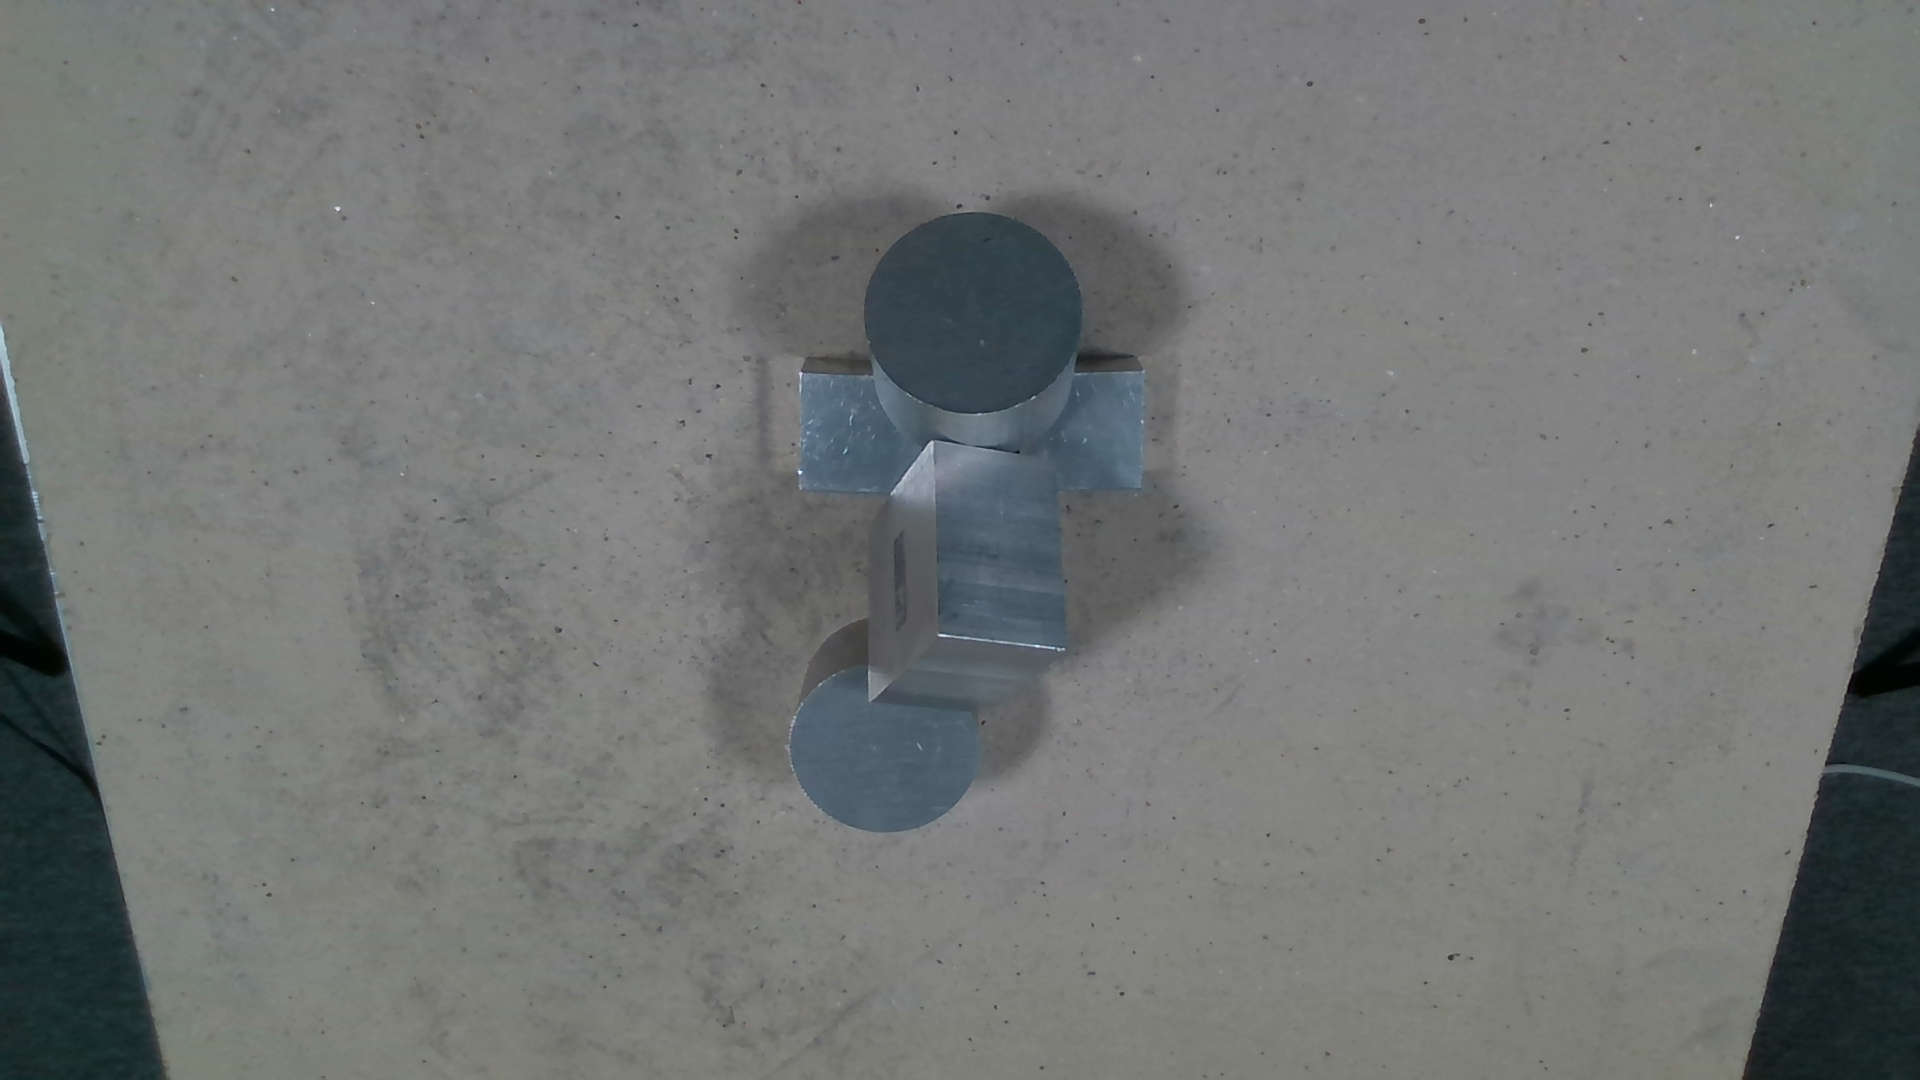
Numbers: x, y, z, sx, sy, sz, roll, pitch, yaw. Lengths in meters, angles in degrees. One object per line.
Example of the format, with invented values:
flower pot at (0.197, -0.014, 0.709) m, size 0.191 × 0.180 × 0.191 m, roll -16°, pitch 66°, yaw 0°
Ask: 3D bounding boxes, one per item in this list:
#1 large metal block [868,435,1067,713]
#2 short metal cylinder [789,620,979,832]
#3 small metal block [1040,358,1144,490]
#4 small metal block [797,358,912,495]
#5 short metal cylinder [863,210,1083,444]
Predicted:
large metal block at (0.000, 0.016, 0.542) m, size 0.050 × 0.080 × 0.080 m, roll 8°, pitch 154°, yaw -20°
short metal cylinder at (-0.032, 0.079, 0.601) m, size 0.080 × 0.050 × 0.080 m, roll 0°, pitch 110°, yaw 0°
small metal block at (0.049, -0.048, 0.567) m, size 0.050 × 0.025 × 0.050 m, roll -1°, pitch 110°, yaw 1°
small metal block at (-0.041, -0.047, 0.567) m, size 0.050 × 0.025 × 0.050 m, roll 3°, pitch 110°, yaw -1°
short metal cylinder at (0.005, -0.077, 0.524) m, size 0.080 × 0.050 × 0.080 m, roll 0°, pitch 74°, yaw 1°
